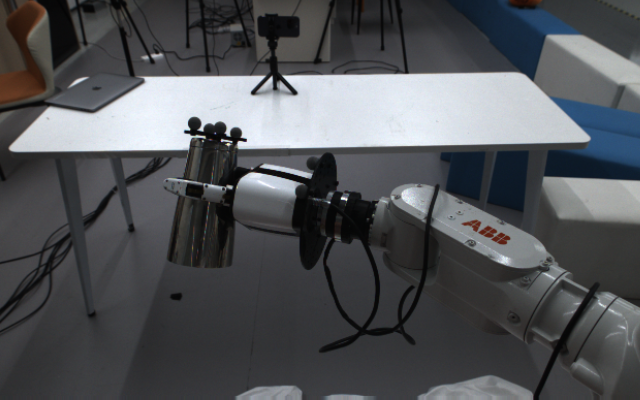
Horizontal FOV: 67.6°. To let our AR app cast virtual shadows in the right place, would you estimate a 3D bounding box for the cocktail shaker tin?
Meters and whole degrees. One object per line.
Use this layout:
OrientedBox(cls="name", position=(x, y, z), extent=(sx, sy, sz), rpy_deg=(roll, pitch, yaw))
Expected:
OrientedBox(cls="cocktail shaker tin", position=(-0.158, 0.003, 0.681), extent=(0.093, 0.170, 0.093), rpy_deg=(8, 3, 0))
